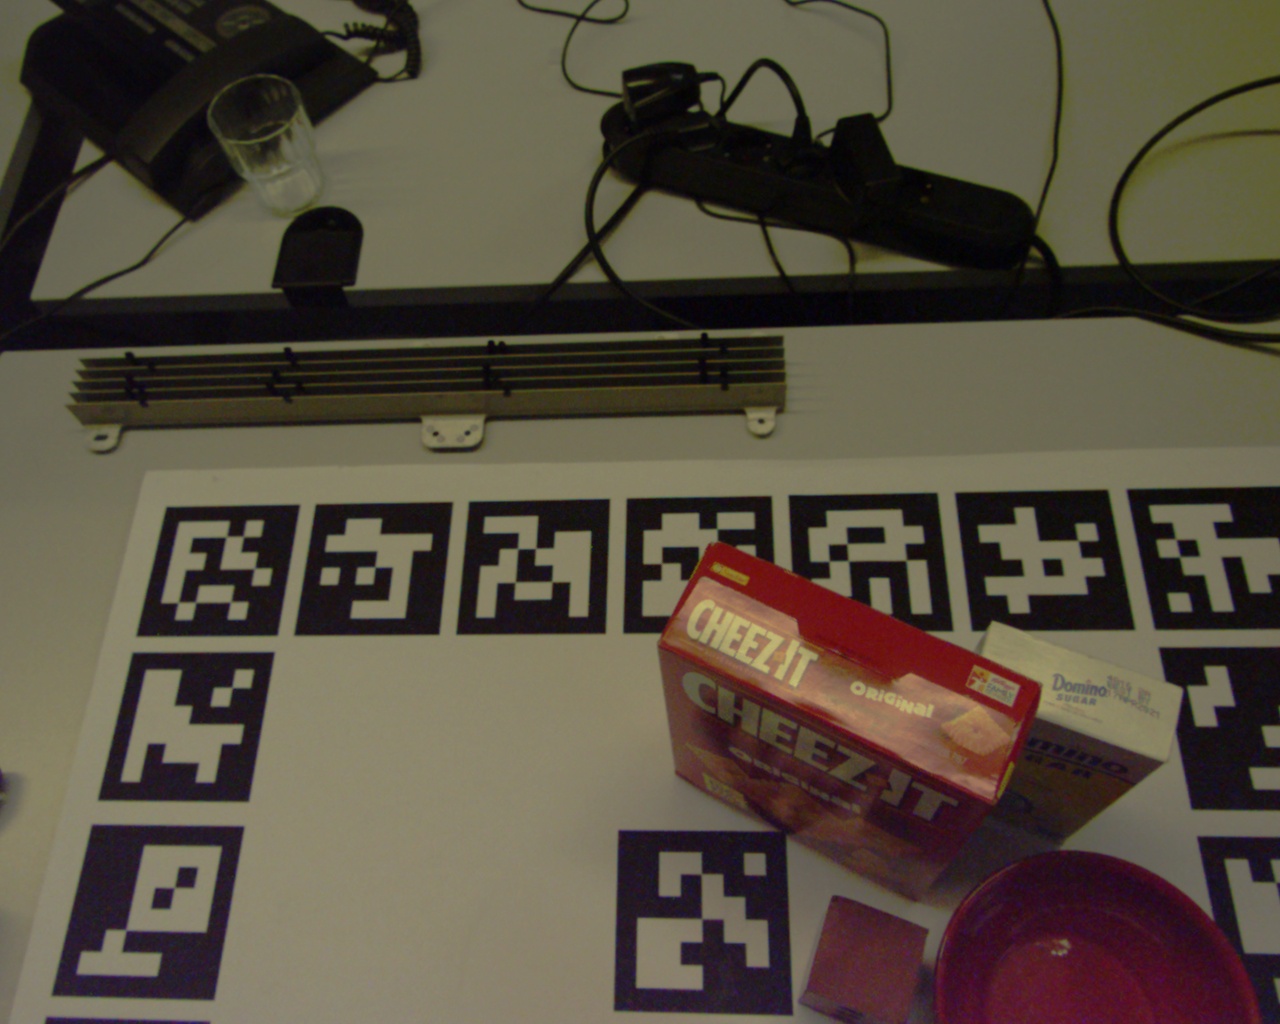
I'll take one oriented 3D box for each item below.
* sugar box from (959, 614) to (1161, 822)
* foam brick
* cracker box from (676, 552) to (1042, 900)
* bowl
[{"bbox_3d":[0.216,0.121,0.641,0.093,0.175,0.045,17,65,14],"label":"sugar box"},{"bbox_3d":[0.126,0.251,0.643,0.053,0.077,0.051,12,63,12],"label":"foam brick"},{"bbox_3d":[0.104,0.129,0.629,0.165,0.212,0.072,25,65,16],"label":"cracker box"},{"bbox_3d":[0.248,0.272,0.615,0.162,0.055,0.162,-3,63,4],"label":"bowl"}]
